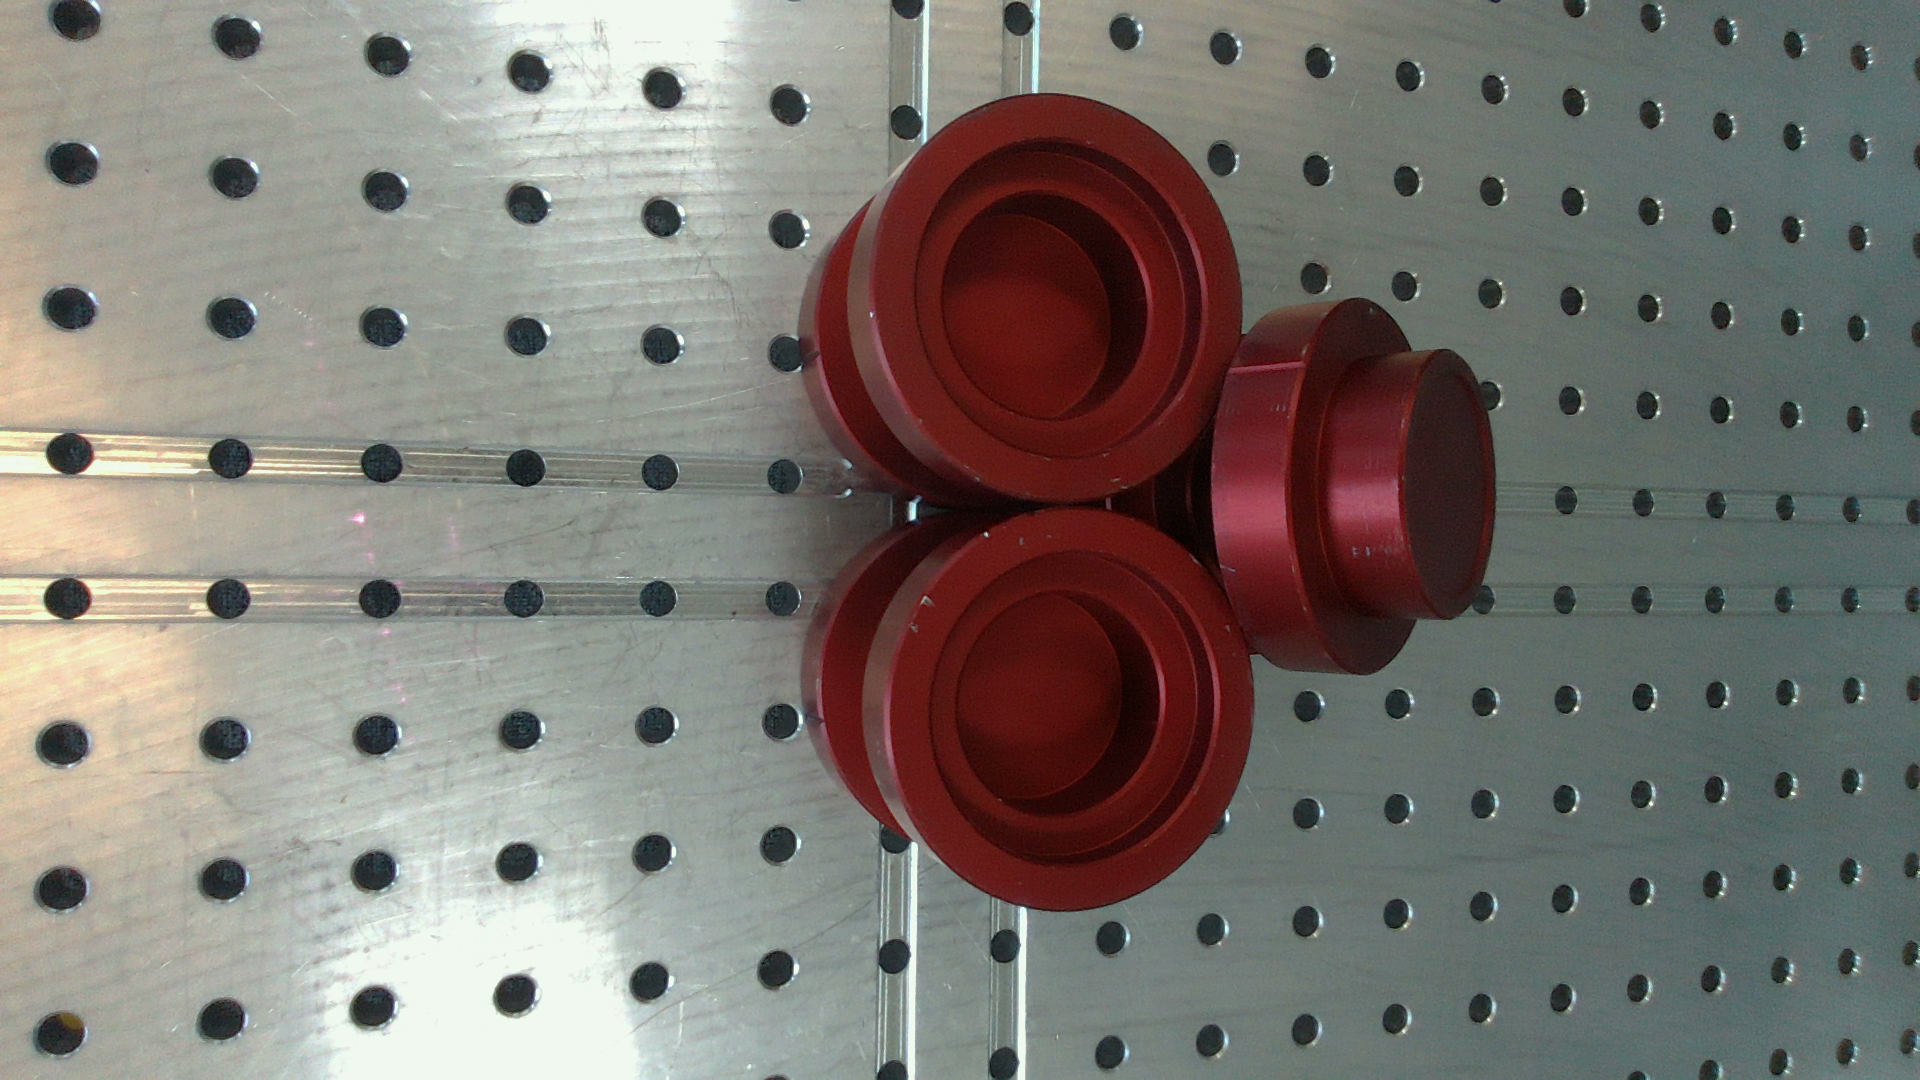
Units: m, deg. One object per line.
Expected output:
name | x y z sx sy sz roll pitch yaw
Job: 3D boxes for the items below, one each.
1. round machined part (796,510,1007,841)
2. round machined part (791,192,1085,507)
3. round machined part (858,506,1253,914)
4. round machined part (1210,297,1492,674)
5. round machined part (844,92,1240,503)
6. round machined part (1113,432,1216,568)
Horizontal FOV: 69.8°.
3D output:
round machined part | 0.006 0.041 0.390 0.098 0.042 0.098 0 90 -20
round machined part | 0.005 -0.058 0.389 0.098 0.042 0.098 0 90 -20
round machined part | 0.021 0.041 0.349 0.098 0.042 0.098 0 90 -20
round machined part | 0.107 -0.014 0.358 0.098 0.042 0.098 1 89 -52
round machined part | 0.018 -0.058 0.348 0.098 0.042 0.098 0 90 -20
round machined part | 0.089 -0.014 0.420 0.098 0.042 0.098 0 90 -20
